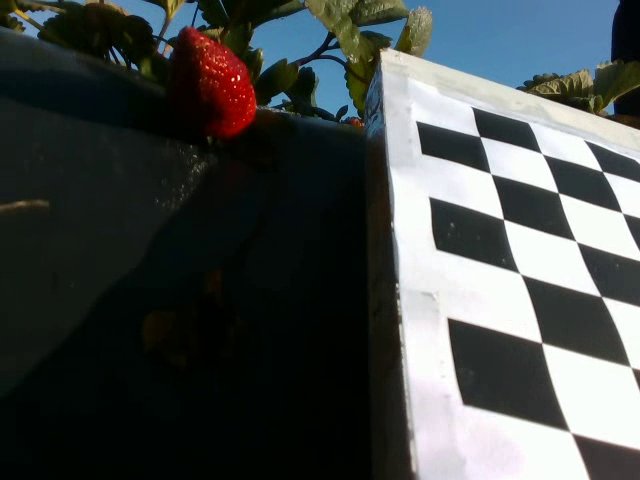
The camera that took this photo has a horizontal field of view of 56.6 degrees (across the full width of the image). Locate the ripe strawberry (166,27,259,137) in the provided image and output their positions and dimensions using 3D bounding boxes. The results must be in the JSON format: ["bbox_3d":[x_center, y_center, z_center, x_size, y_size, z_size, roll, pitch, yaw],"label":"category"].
[{"bbox_3d":[-0.014,-0.020,0.075,0.015,0.015,0.023,21,-13,-2],"label":"ripe strawberry"}]
